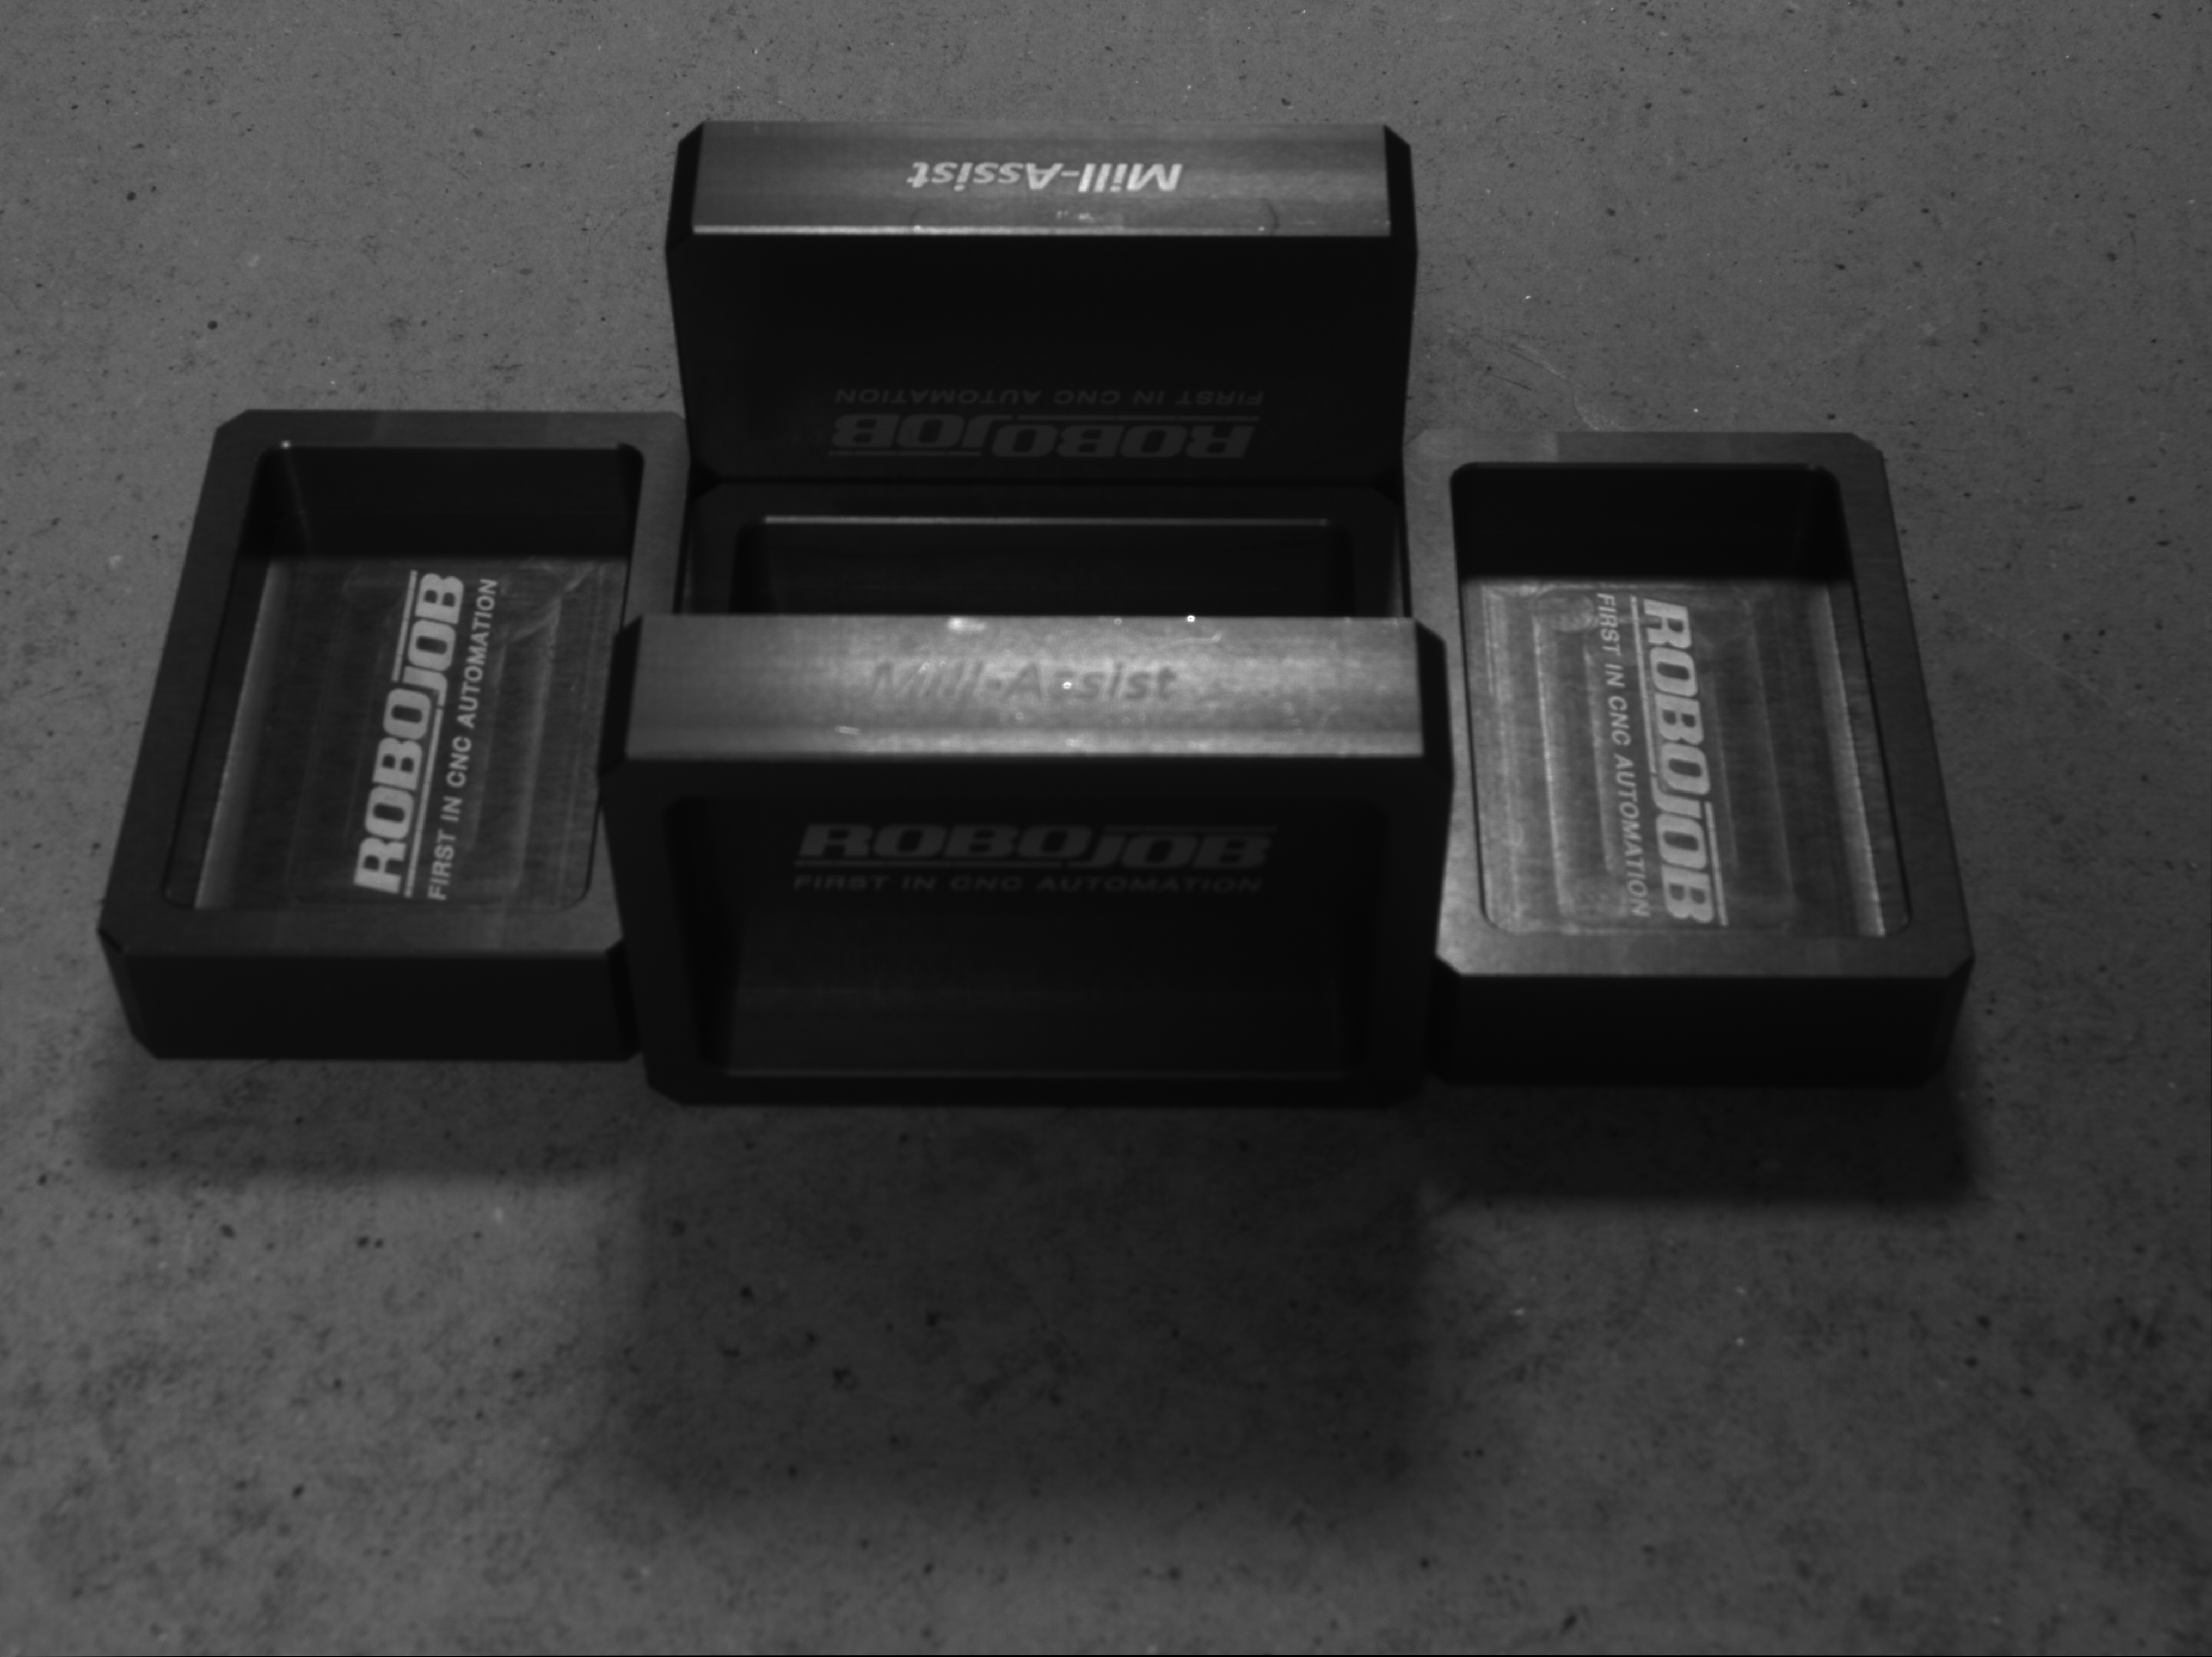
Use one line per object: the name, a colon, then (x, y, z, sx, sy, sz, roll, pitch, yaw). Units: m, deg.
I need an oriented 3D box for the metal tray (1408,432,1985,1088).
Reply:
metal tray: (0.100, -0.015, 0.652, 0.090, 0.030, 0.130, 1, 50, 0)

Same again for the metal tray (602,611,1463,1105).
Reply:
metal tray: (-0.011, 0.006, 0.592, 0.130, 0.090, 0.030, 0, 50, 0)

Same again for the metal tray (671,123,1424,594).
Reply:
metal tray: (-0.010, -0.085, 0.671, 0.130, 0.090, 0.030, 0, 50, 0)

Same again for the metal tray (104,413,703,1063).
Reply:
metal tray: (-0.120, -0.019, 0.655, 0.090, 0.030, 0.130, 1, 50, 0)

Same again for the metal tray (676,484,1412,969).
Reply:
metal tray: (-0.010, -0.019, 0.655, 0.130, 0.030, 0.090, 1, 50, 1)
